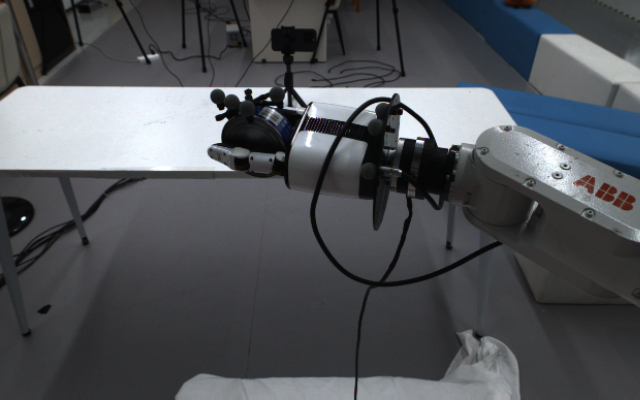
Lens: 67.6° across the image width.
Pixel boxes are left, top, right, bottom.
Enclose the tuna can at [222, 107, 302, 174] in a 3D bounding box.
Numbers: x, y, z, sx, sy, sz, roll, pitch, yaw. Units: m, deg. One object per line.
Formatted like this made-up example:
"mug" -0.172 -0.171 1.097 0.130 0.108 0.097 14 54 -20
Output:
"tuna can" -0.071 -0.072 0.586 0.085 0.085 0.034 14 40 16
